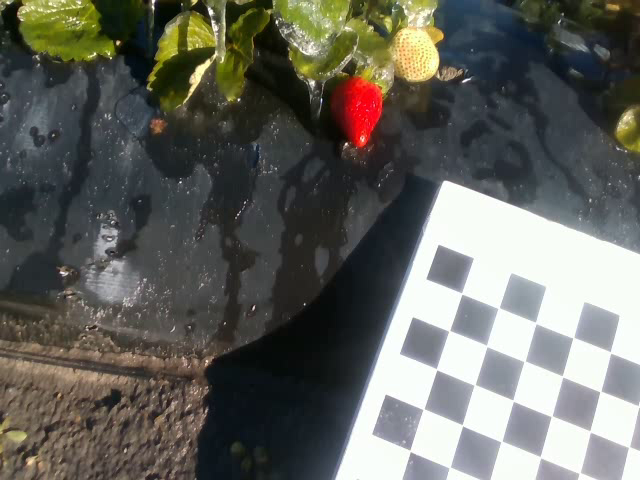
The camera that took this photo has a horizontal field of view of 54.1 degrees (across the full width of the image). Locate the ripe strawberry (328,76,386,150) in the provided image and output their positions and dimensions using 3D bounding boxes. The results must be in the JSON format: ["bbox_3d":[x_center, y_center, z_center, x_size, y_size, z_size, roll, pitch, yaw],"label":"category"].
[{"bbox_3d":[0.027,-0.085,0.398,0.041,0.052,0.040,5,-25,-1],"label":"ripe strawberry"}]
